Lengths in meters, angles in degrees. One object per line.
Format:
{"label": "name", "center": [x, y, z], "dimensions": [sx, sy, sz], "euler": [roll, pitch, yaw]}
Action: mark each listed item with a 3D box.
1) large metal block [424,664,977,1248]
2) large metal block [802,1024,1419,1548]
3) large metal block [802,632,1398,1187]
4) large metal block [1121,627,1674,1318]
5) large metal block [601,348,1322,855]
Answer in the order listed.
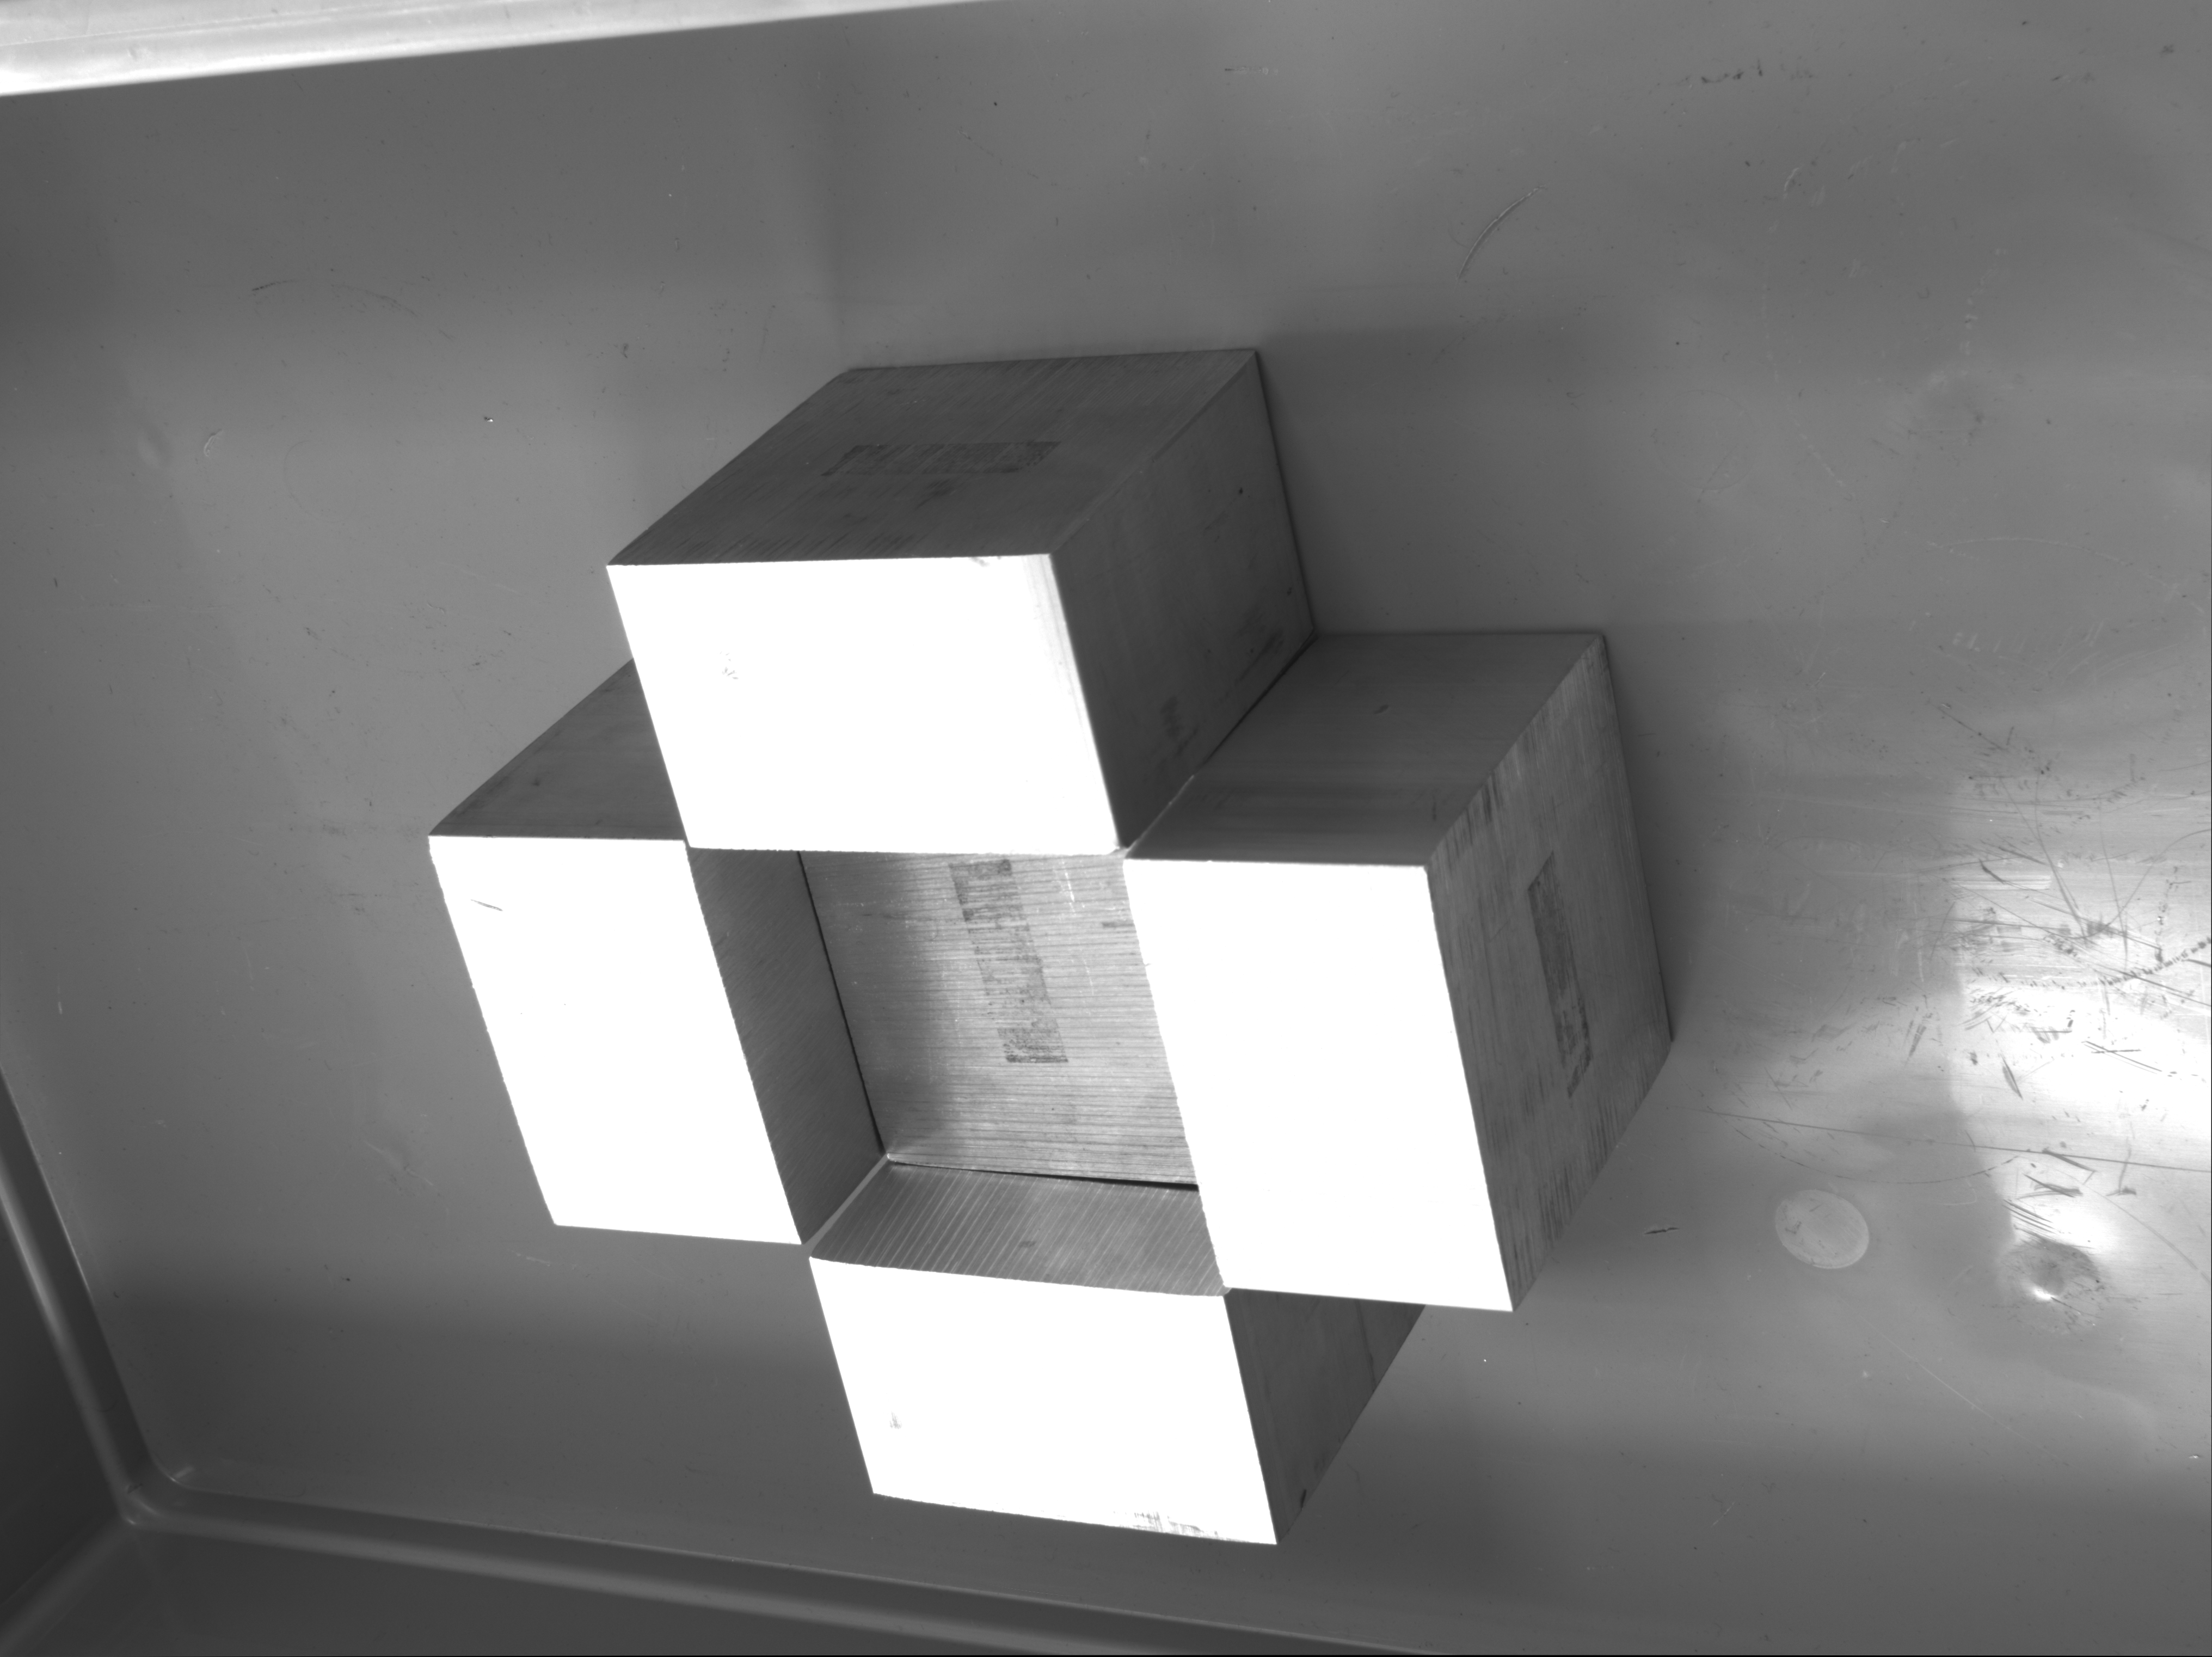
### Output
{"label": "large metal block", "center": [-0.067, 0.017, 0.653], "dimensions": [0.050, 0.080, 0.080], "euler": [1, 119, 28]}
{"label": "large metal block", "center": [0.005, 0.078, 0.650], "dimensions": [0.080, 0.080, 0.050], "euler": [2, 119, 27]}
{"label": "large metal block", "center": [-0.002, 0.013, 0.633], "dimensions": [0.080, 0.050, 0.080], "euler": [1, 119, 28]}
{"label": "large metal block", "center": [0.050, 0.021, 0.593], "dimensions": [0.050, 0.080, 0.080], "euler": [1, 119, 28]}
{"label": "large metal block", "center": [-0.021, -0.037, 0.594], "dimensions": [0.080, 0.080, 0.050], "euler": [1, 119, 28]}
